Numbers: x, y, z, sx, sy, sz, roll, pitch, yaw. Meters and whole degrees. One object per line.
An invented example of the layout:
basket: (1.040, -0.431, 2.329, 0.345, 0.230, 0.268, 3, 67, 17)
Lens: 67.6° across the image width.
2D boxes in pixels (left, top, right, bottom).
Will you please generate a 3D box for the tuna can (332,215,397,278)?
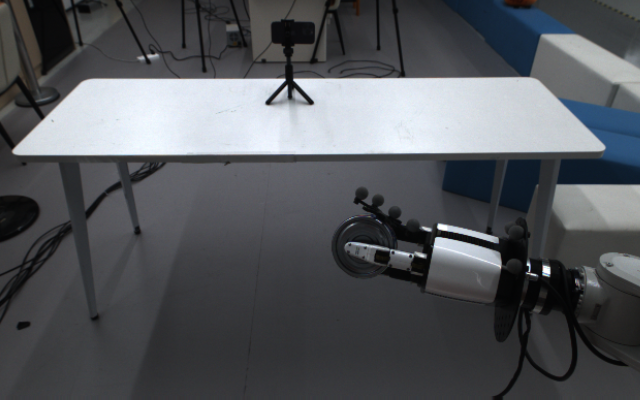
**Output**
tuna can: (0.063, 0.068, 0.647, 0.085, 0.085, 0.034, 13, 4, 15)
